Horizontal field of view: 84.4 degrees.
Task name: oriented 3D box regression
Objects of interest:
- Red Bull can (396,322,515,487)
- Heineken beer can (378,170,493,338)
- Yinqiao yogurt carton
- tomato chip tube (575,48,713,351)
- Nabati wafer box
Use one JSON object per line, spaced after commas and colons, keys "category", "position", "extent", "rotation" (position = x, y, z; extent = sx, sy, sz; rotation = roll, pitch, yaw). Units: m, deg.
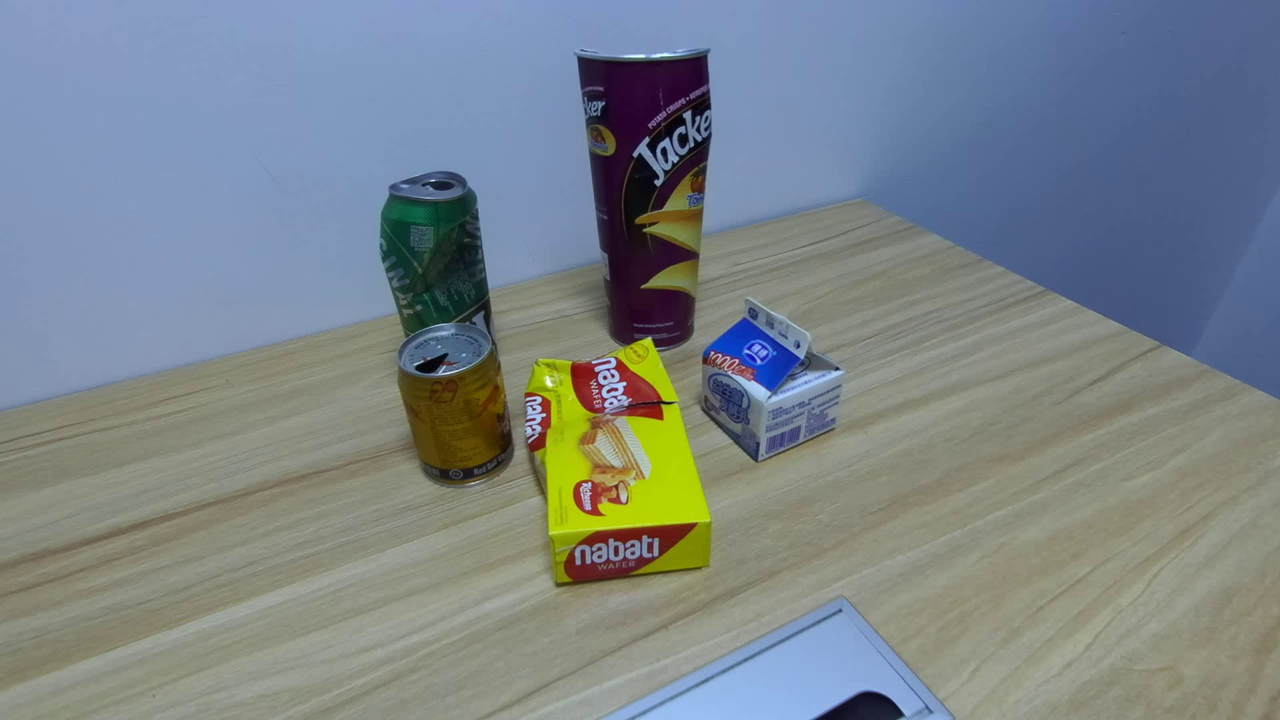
{"category": "Red Bull can", "position": [-0.123, 0.030, 0.476], "extent": [0.067, 0.093, 0.067], "rotation": [-1, 35, 1]}
{"category": "Heineken beer can", "position": [-0.151, -0.055, 0.536], "extent": [0.078, 0.164, 0.066], "rotation": [-12, 38, -20]}
{"category": "Yinqiao yogurt carton", "position": [0.092, 0.006, 0.498], "extent": [0.074, 0.092, 0.075], "rotation": [-19, 37, -23]}
{"category": "tomato chip tube", "position": [0.007, -0.124, 0.565], "extent": [0.076, 0.235, 0.077], "rotation": [-30, 42, -35]}
{"category": "Nabati wafer box", "position": [-0.024, 0.055, 0.481], "extent": [0.107, 0.042, 0.203], "rotation": [-6, 34, -7]}
